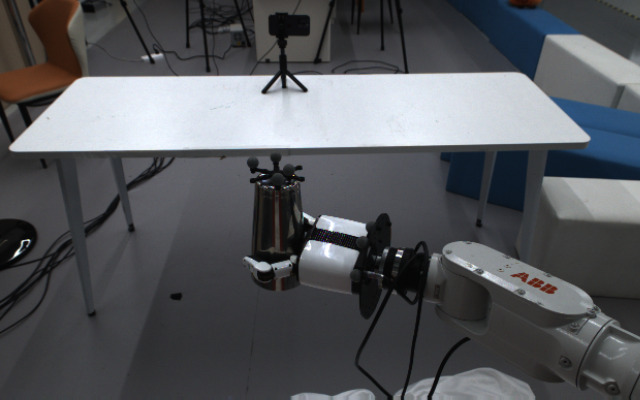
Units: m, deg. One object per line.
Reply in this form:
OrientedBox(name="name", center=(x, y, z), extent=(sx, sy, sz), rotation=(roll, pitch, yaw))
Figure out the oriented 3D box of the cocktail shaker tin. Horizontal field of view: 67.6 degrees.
OrientedBox(name="cocktail shaker tin", center=(-0.064, 0.044, 0.747), extent=(0.093, 0.170, 0.093), rotation=(1, 28, -1))
